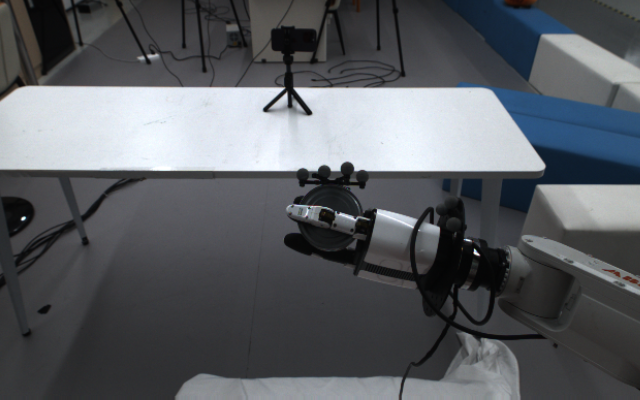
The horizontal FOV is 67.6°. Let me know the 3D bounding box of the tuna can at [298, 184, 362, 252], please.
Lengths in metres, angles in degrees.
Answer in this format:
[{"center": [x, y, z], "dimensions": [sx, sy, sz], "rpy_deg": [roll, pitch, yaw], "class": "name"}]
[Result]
[{"center": [0.014, 0.024, 0.635], "dimensions": [0.085, 0.034, 0.085], "rpy_deg": [-1, 76, 4], "class": "tuna can"}]
